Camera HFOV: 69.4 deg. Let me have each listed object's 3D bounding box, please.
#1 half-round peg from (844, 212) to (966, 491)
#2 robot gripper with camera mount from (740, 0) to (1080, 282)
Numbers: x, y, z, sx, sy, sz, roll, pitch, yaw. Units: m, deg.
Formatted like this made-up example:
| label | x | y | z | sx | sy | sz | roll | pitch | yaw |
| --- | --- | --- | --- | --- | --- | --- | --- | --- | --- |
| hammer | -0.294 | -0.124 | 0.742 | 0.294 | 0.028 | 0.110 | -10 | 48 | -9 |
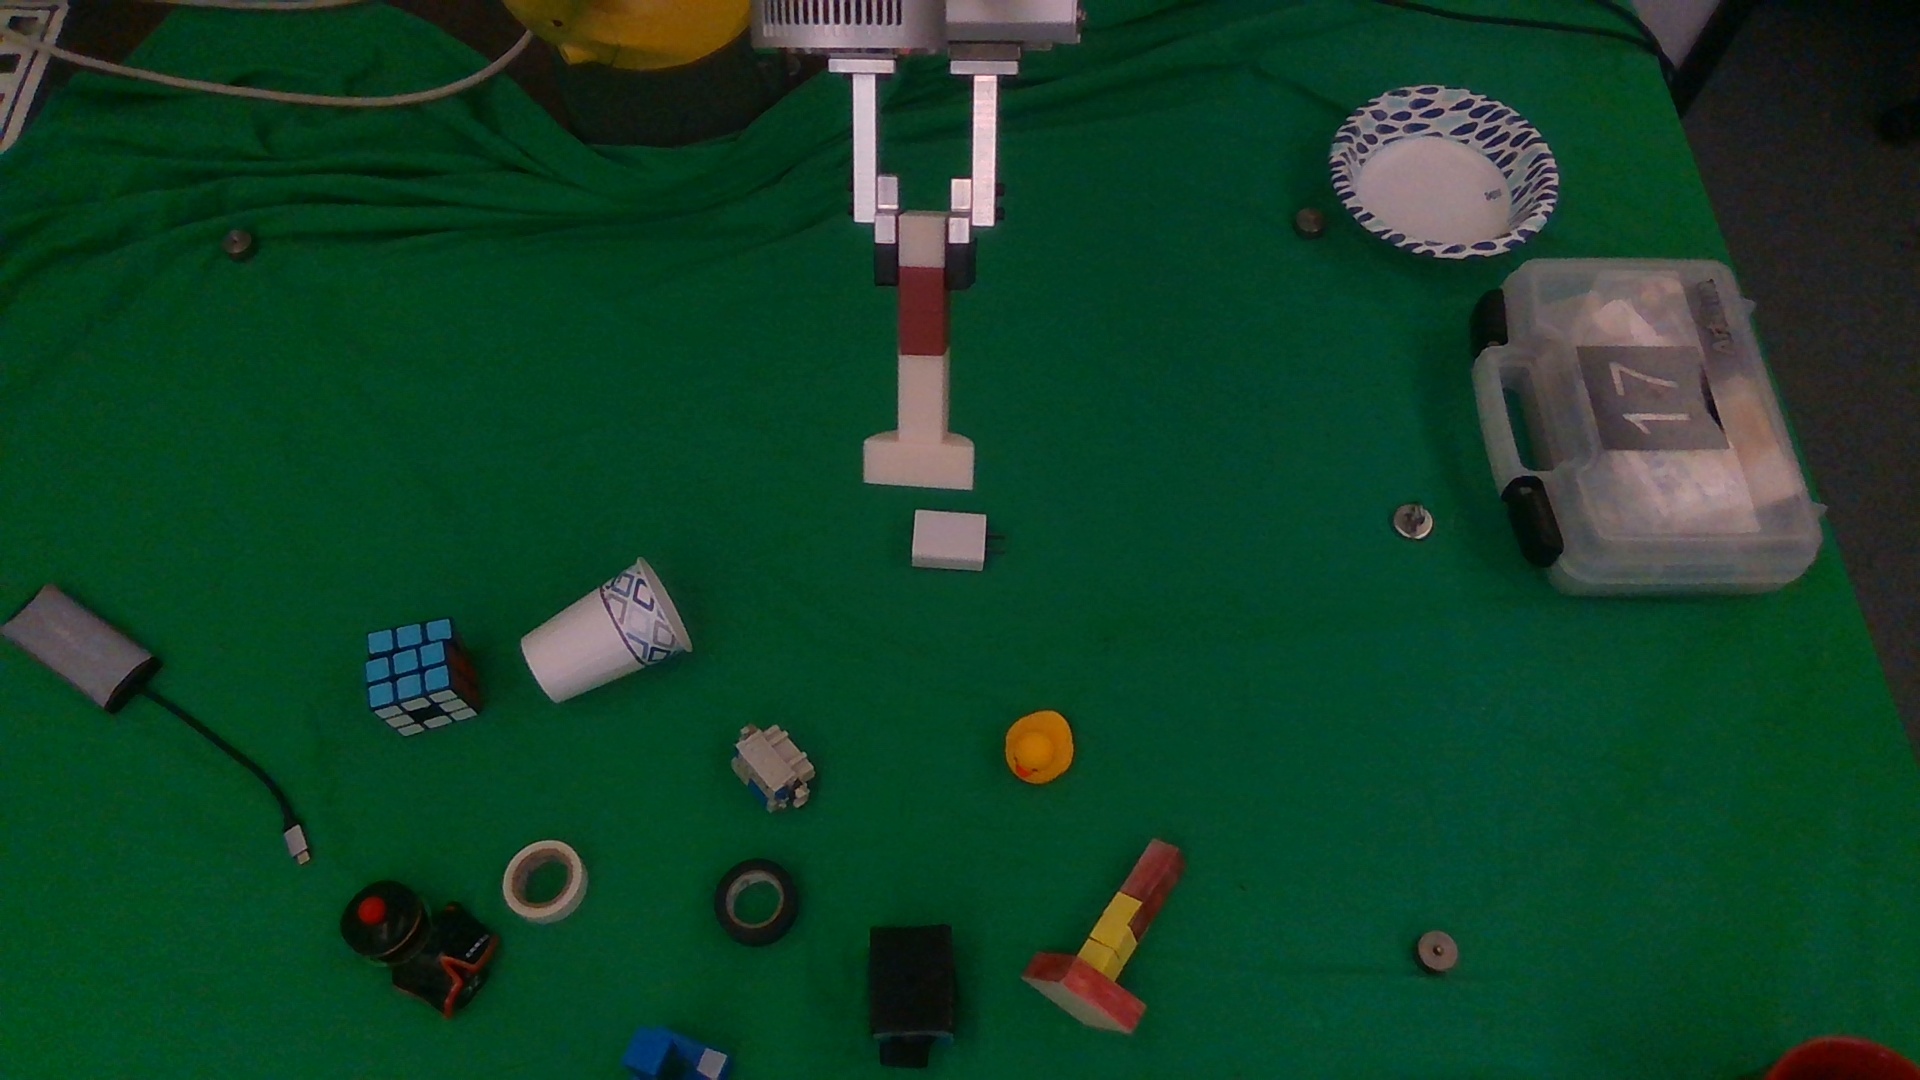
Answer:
| label | x | y | z | sx | sy | sz | roll | pitch | yaw |
| --- | --- | --- | --- | --- | --- | --- | --- | --- | --- |
| half-round peg | -0.025 | -0.082 | 0.612 | 0.054 | 0.122 | 0.031 | 0 | 24 | -1 |
| robot gripper with camera mount | -0.024 | -0.165 | 0.514 | 0.119 | 0.158 | 0.193 | 5 | 20 | 7 |
